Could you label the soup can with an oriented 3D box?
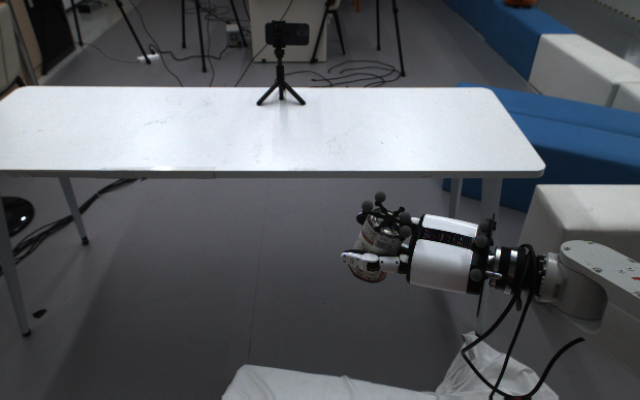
[{"bbox_3d":[0.092,0.072,0.764,0.067,0.101,0.067,13,35,-9],"label":"soup can"}]
